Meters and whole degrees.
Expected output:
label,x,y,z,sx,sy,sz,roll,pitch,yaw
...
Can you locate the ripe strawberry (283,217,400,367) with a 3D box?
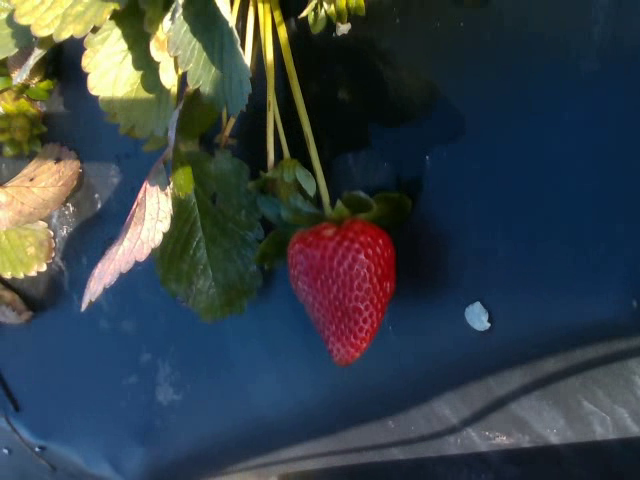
label,x,y,z,sx,sy,sz,roll,pitch,yaw
ripe strawberry,0.008,0.017,0.194,0.045,0.055,0.041,-15,-29,22
